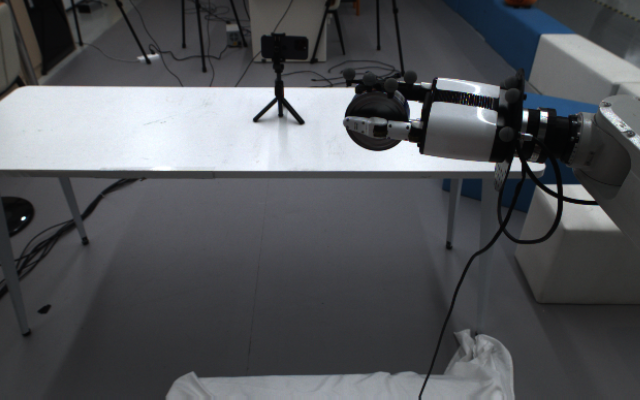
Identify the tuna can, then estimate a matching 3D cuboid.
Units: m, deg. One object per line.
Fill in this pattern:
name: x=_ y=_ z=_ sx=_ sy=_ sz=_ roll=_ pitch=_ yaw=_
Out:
tuna can: x=0.079 y=-0.115 z=0.658 sx=0.085 sy=0.085 sz=0.034 roll=10 pitch=34 yaw=12
